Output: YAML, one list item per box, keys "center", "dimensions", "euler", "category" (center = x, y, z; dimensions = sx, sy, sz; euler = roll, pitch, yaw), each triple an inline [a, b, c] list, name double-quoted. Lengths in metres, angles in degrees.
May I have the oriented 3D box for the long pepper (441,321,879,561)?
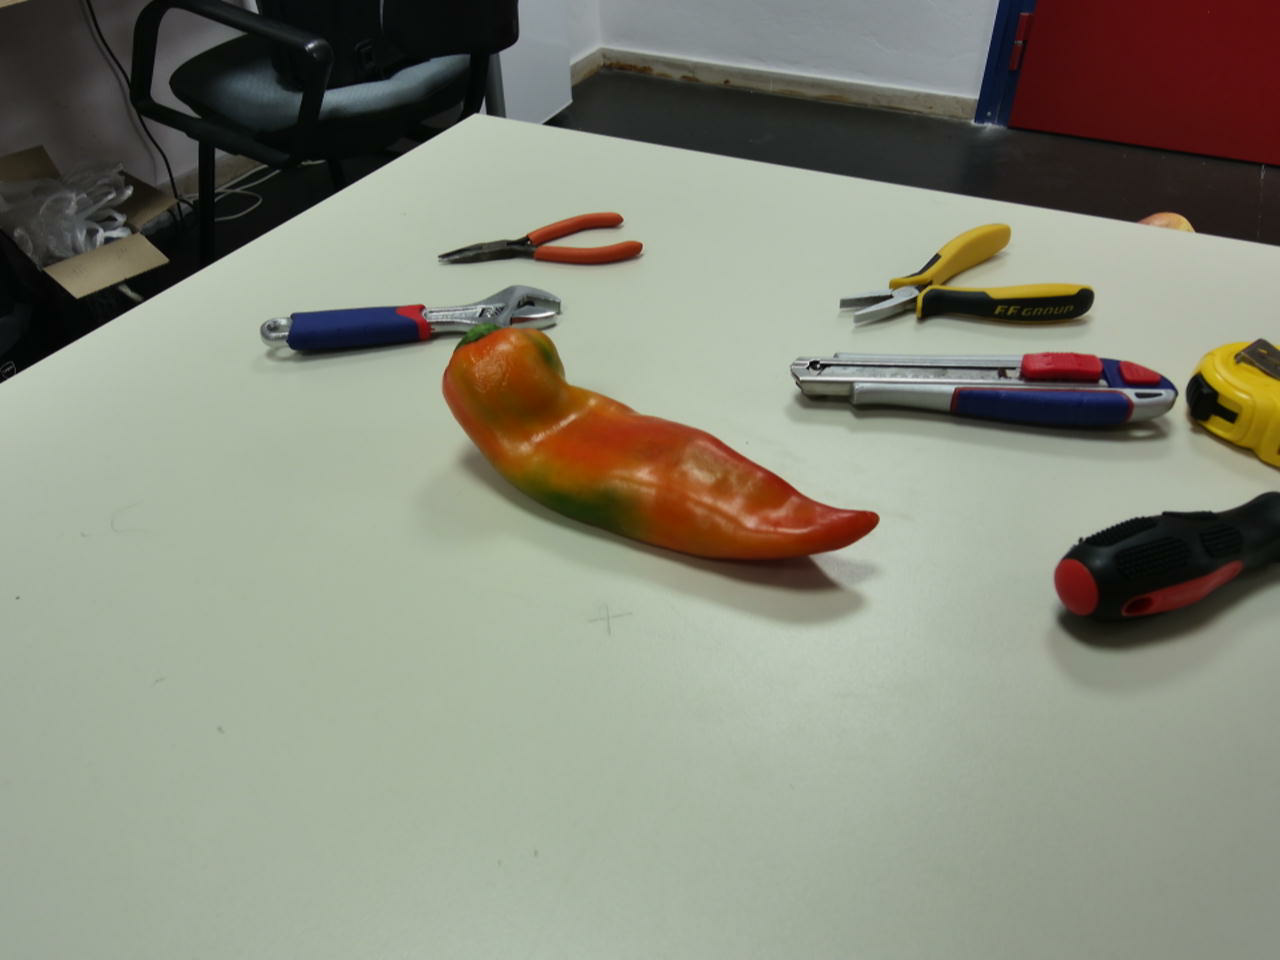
- center: [0.002, -0.015, 0.417]
  dimensions: [0.199, 0.065, 0.066]
  euler: [21, 42, 25]
  category: "long pepper"
